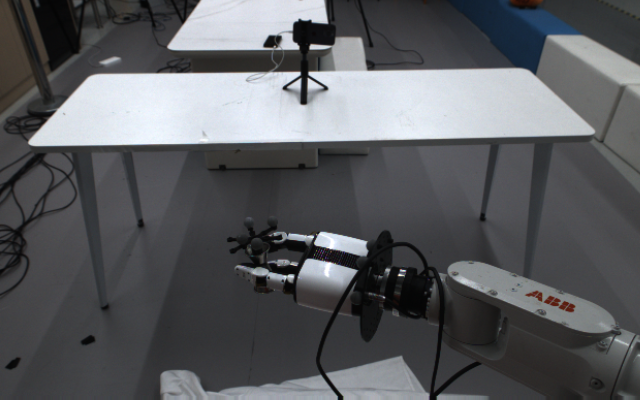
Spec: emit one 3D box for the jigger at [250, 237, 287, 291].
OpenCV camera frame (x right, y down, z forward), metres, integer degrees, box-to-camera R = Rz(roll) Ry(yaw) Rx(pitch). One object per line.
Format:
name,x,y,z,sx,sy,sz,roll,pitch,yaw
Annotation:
jigger,-0.086,0.102,0.745,0.043,0.071,0.043,-10,24,5
